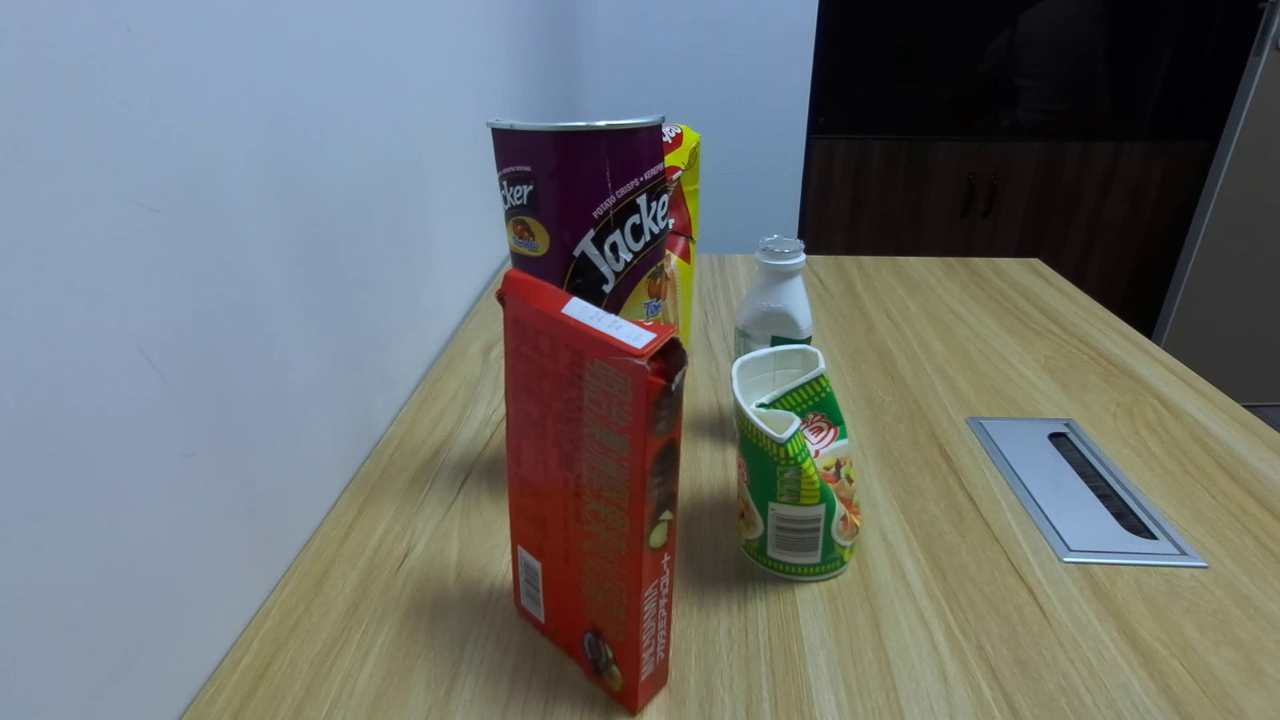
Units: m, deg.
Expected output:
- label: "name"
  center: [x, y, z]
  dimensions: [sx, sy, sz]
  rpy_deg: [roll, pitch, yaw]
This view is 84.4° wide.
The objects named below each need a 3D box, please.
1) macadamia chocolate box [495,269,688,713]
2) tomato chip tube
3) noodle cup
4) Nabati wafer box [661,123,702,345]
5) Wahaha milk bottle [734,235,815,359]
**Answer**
- label: "macadamia chocolate box"
  center: [-0.027, 0.060, 0.325]
  dimensions: [0.102, 0.187, 0.027]
  rpy_deg: [22, 29, 40]
- label: "tomato chip tube"
  center: [-0.030, -0.023, 0.432]
  dimensions: [0.077, 0.235, 0.076]
  rpy_deg: [13, 27, 34]
- label: "noodle cup"
  center: [0.090, 0.058, 0.397]
  dimensions: [0.083, 0.122, 0.075]
  rpy_deg: [-27, 29, -25]
- label: "Nabati wafer box"
  center: [0.007, -0.078, 0.570]
  dimensions: [0.042, 0.204, 0.107]
  rpy_deg: [15, 30, 27]
- label: "Wahaha milk bottle"
  center: [0.094, -0.009, 0.491]
  dimensions: [0.055, 0.149, 0.055]
  rpy_deg: [0, 26, 1]
